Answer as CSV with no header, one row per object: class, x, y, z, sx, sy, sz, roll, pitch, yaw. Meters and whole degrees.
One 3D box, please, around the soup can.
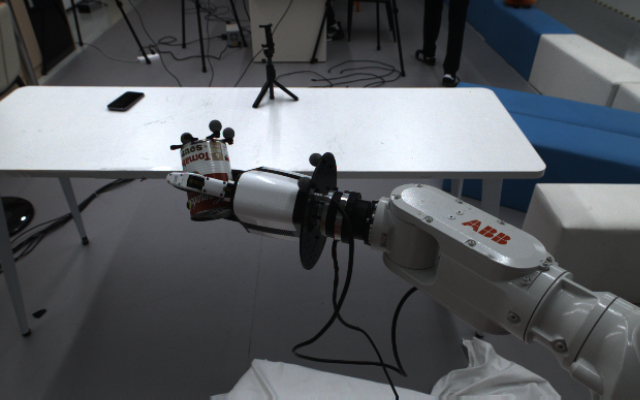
soup can,-0.155,-0.025,0.683,0.067,0.067,0.101,-10,80,-17
